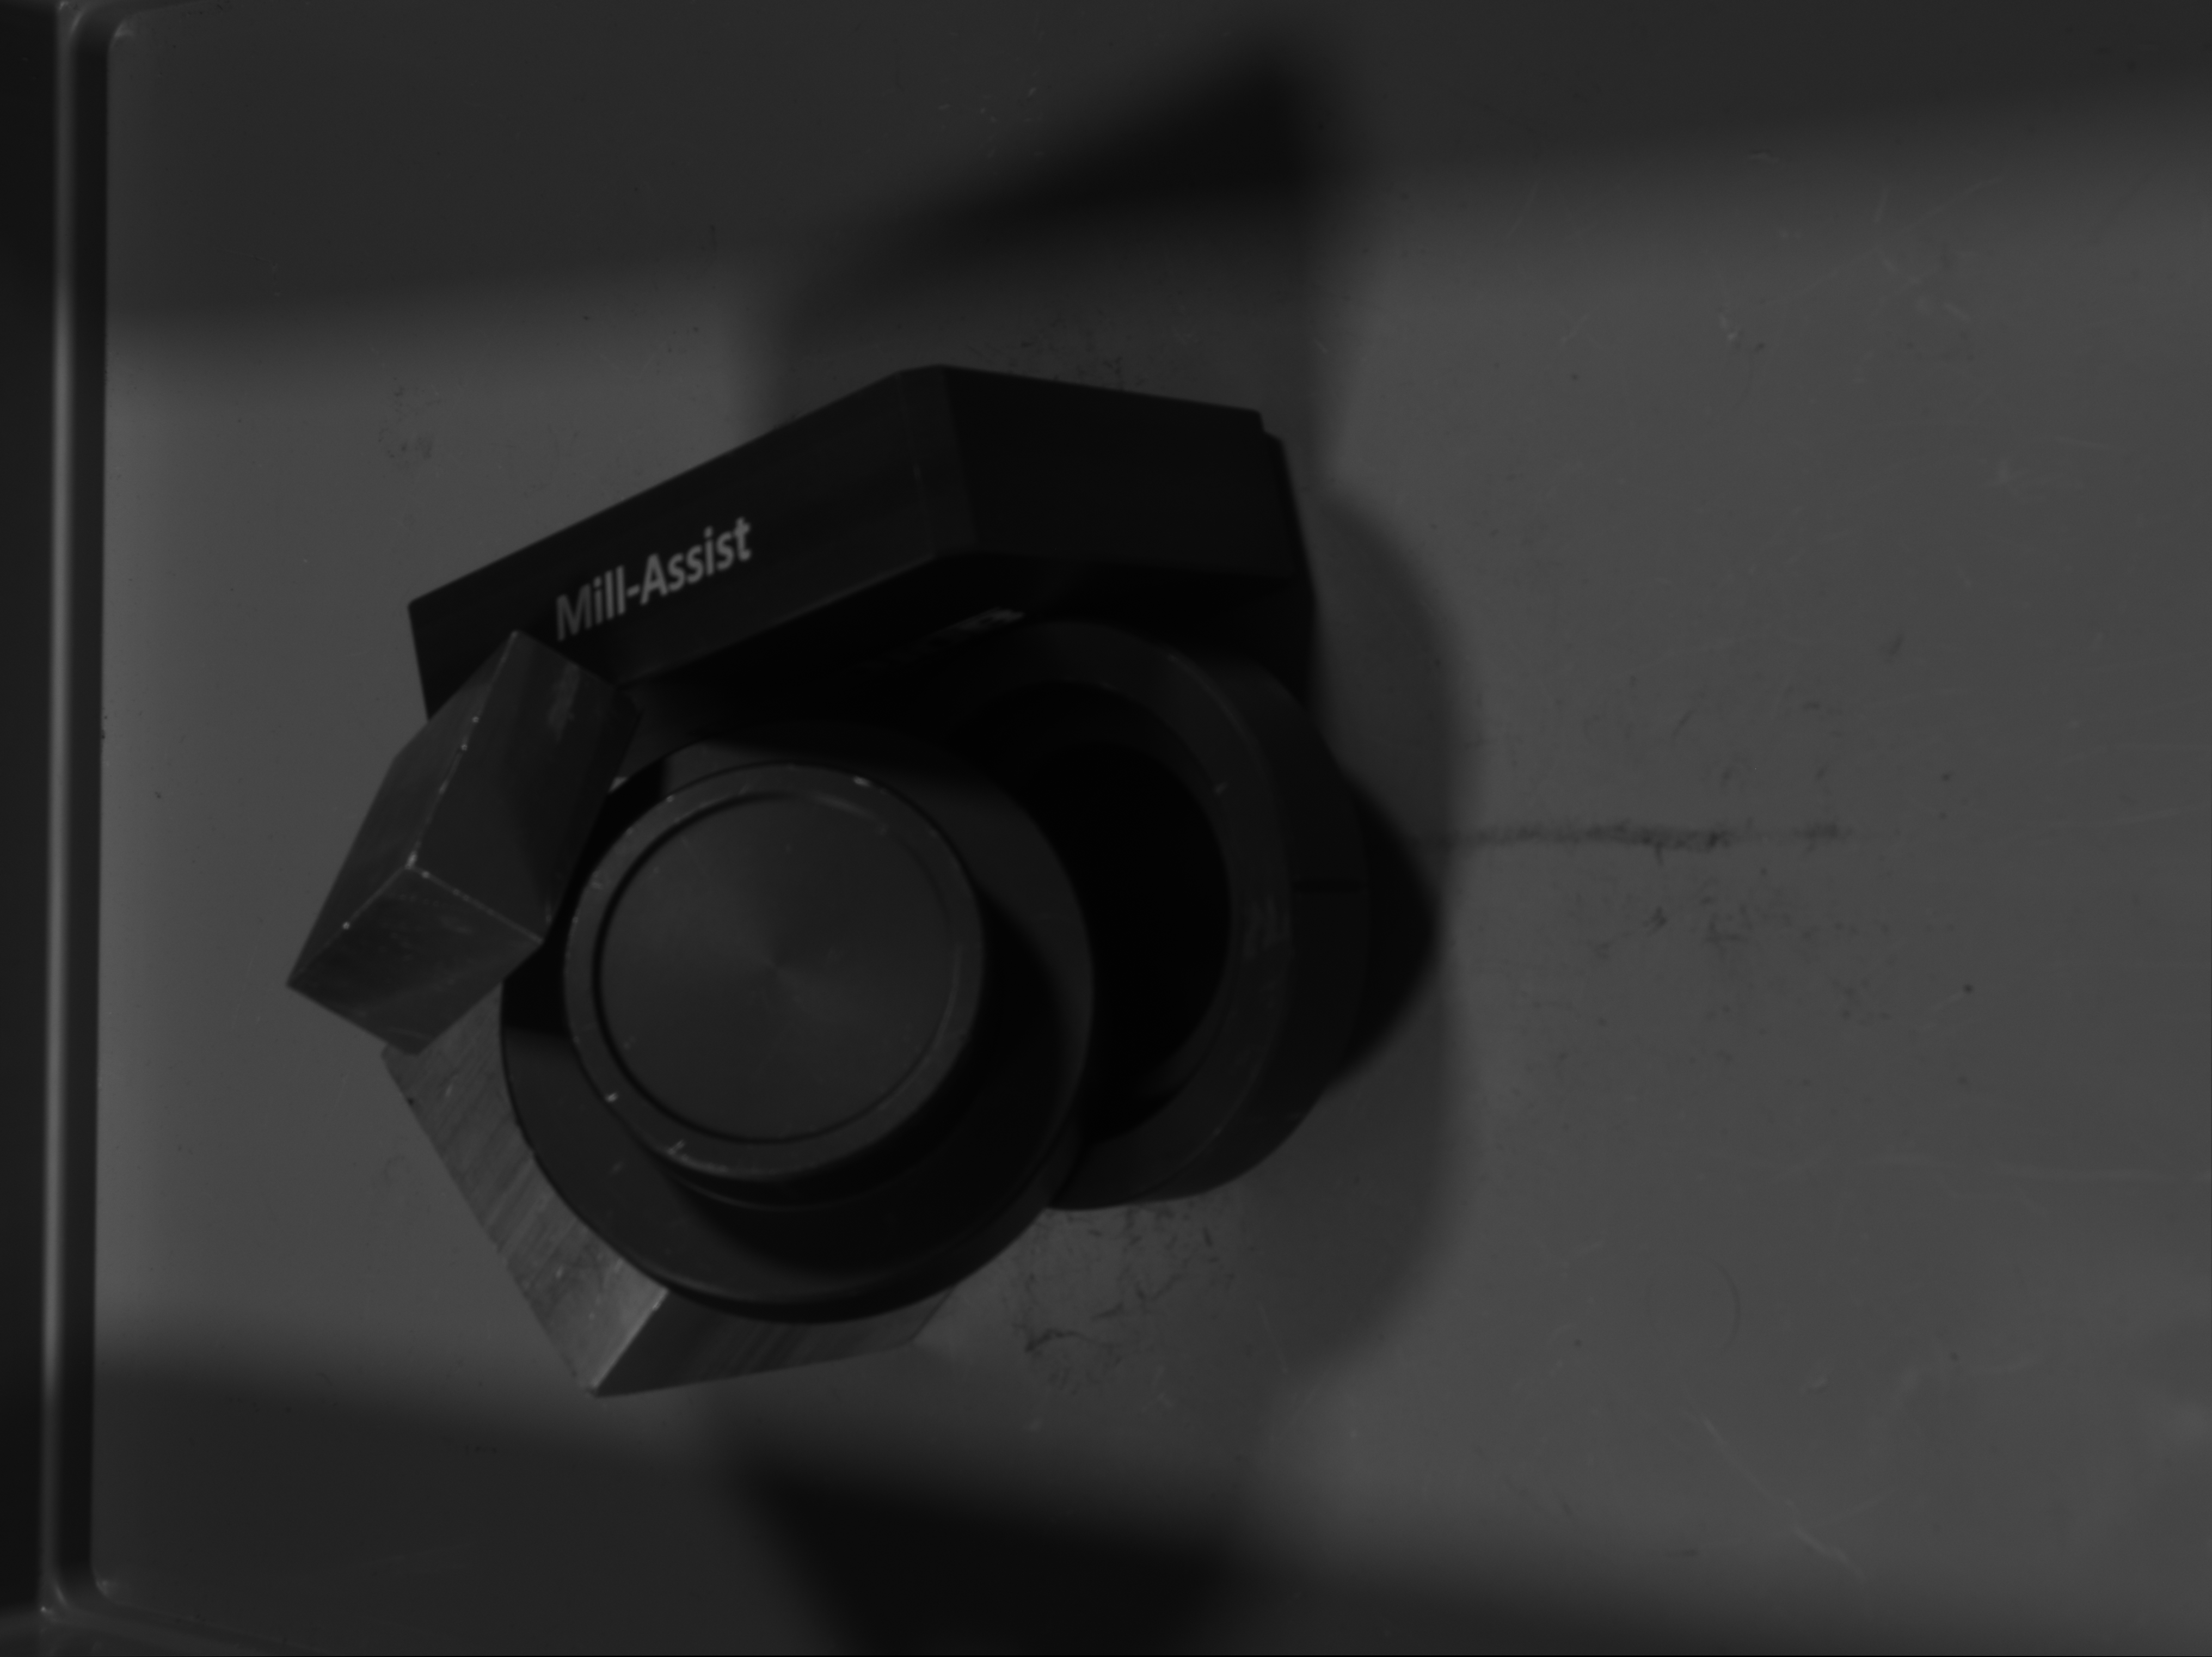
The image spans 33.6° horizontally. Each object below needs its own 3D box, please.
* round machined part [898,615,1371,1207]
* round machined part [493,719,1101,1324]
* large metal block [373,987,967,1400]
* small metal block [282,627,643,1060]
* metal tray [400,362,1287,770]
[{"bbox_3d":[0.005,0.014,0.621,0.098,0.042,0.098,0,90,39],"label":"round machined part"},{"bbox_3d":[-0.051,0.028,0.591,0.098,0.042,0.098,-1,72,4],"label":"round machined part"},{"bbox_3d":[-0.070,0.051,0.657,0.050,0.080,0.080,-51,60,27],"label":"large metal block"},{"bbox_3d":[-0.106,0.003,0.602,0.050,0.025,0.050,-37,28,47],"label":"small metal block"},{"bbox_3d":[-0.046,-0.041,0.630,0.130,0.090,0.030,-19,78,38],"label":"metal tray"}]
